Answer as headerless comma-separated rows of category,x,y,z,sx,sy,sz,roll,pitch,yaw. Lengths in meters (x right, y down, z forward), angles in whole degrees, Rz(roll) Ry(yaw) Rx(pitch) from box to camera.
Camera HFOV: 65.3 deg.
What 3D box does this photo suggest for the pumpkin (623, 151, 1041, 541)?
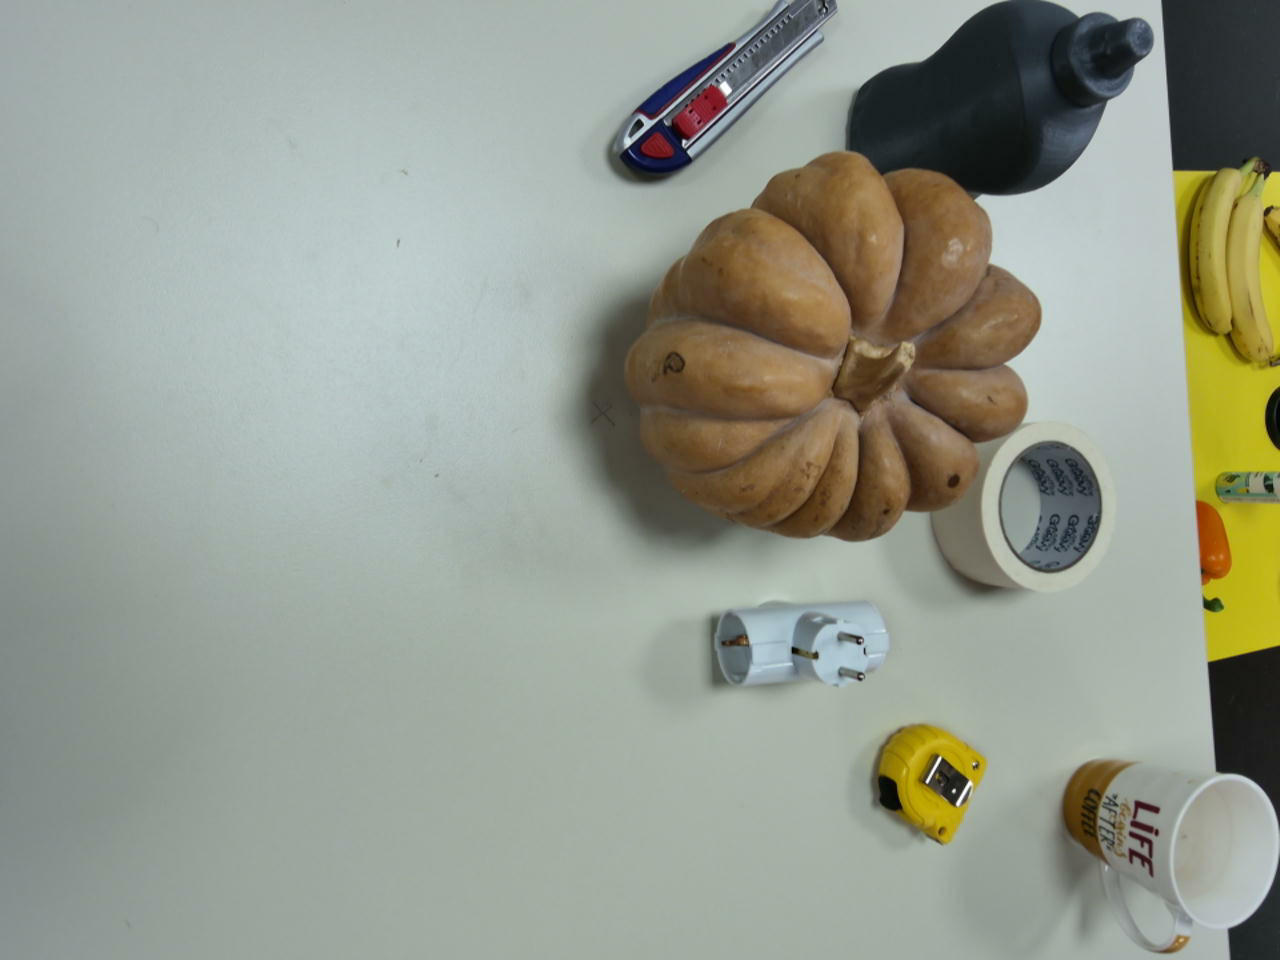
pumpkin,0.091,-0.062,0.514,0.198,0.177,0.198,0,91,-22
